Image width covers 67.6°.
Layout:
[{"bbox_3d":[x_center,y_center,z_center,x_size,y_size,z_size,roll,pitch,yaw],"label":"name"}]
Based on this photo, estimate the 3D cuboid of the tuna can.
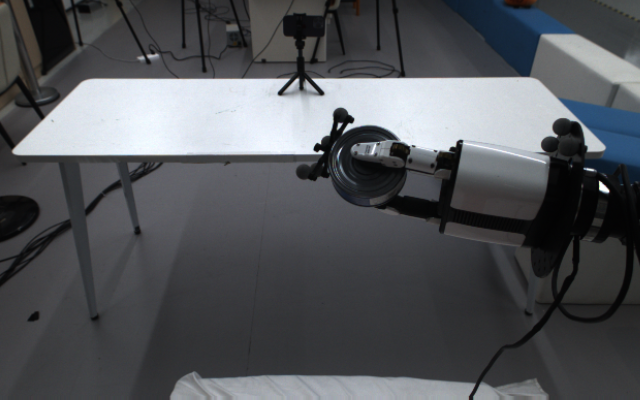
[{"bbox_3d":[0.055,-0.039,0.531,0.085,0.034,0.085,-2,71,5],"label":"tuna can"}]
